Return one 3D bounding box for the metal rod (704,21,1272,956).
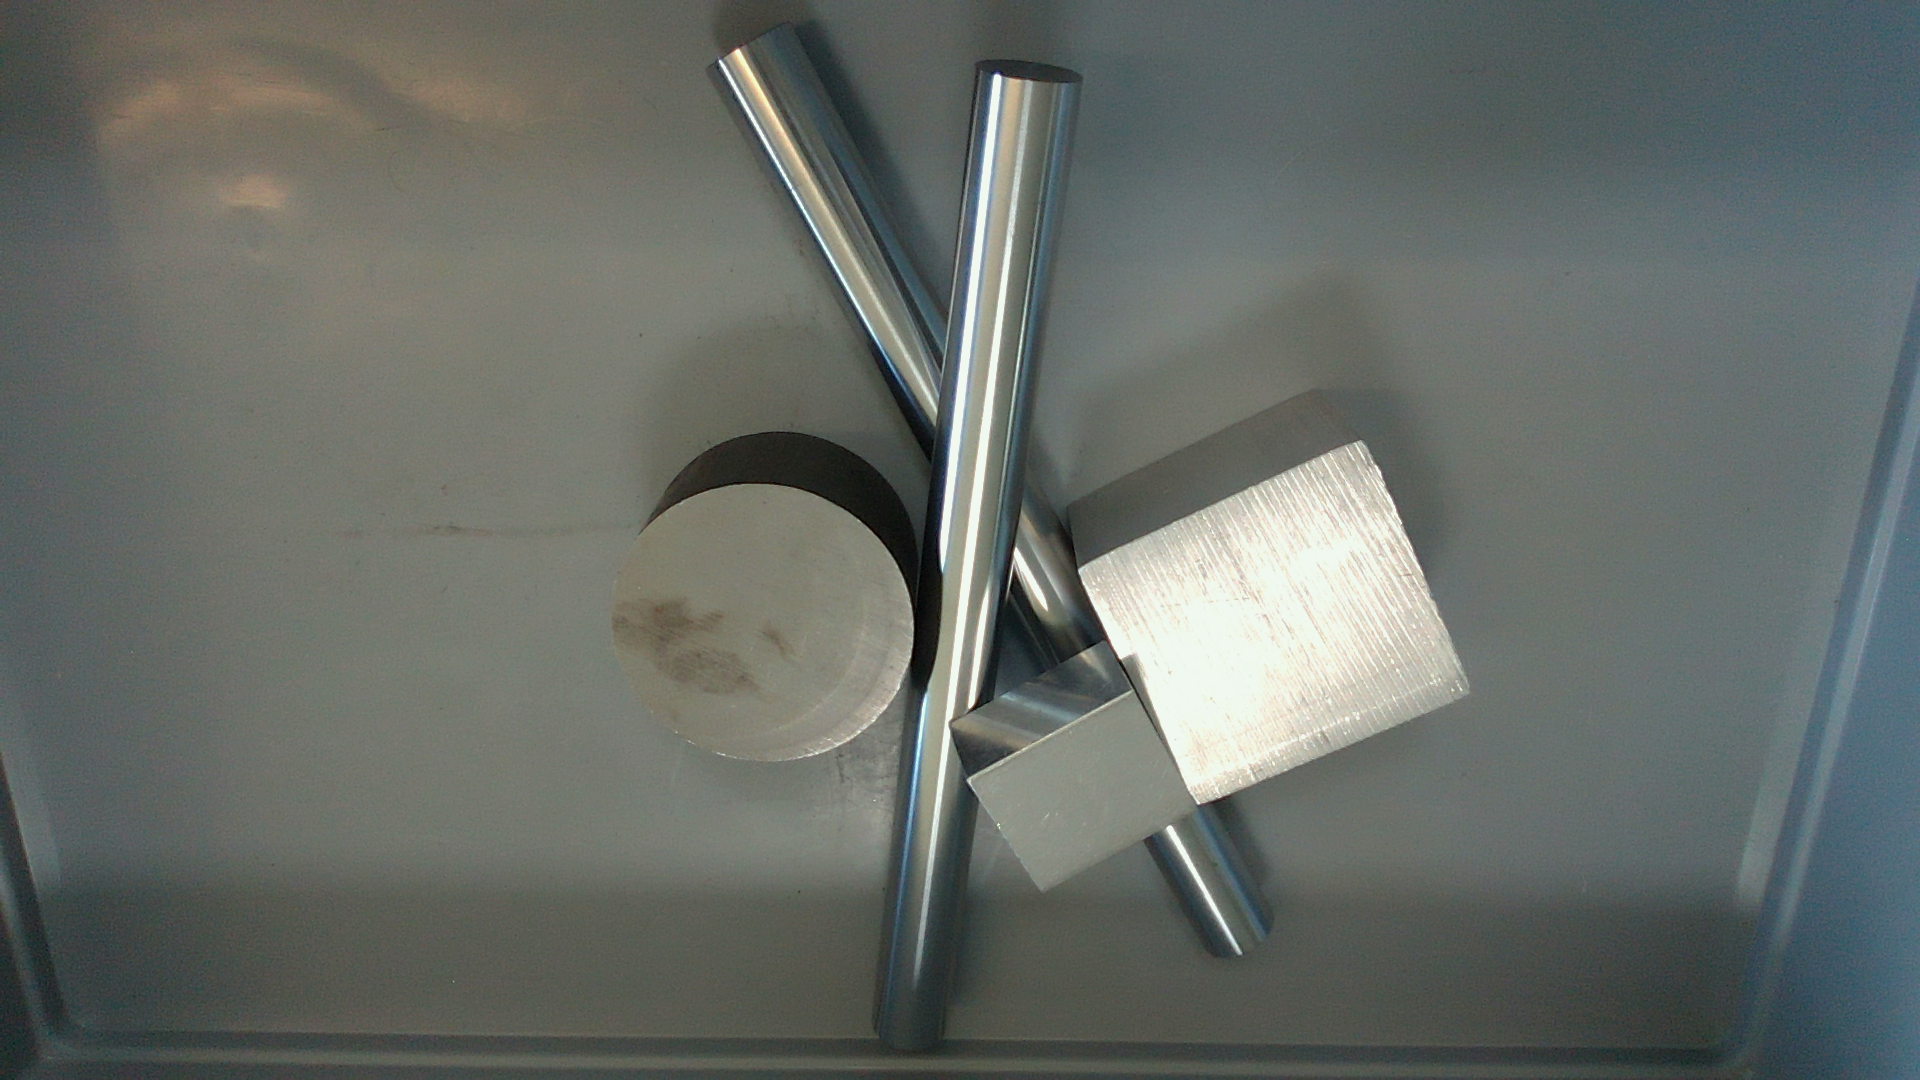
[{"bbox_3d":[0.017,0.000,0.392,0.025,0.025,0.300,-27,109,9],"label":"metal rod"}]

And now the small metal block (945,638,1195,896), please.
[{"bbox_3d":[0.031,0.063,0.382,0.050,0.025,0.050,-29,123,2],"label":"small metal block"}]

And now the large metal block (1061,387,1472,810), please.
[{"bbox_3d":[0.083,0.015,0.385,0.080,0.050,0.080,-26,108,9],"label":"large metal block"}]

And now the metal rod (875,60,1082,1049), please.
[{"bbox_3d":[-0.001,0.025,0.381,0.025,0.025,0.300,6,118,-2],"label":"metal rod"}]

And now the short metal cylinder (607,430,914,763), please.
[{"bbox_3d":[-0.053,0.015,0.385,0.080,0.050,0.080,0,110,-1],"label":"short metal cylinder"}]
